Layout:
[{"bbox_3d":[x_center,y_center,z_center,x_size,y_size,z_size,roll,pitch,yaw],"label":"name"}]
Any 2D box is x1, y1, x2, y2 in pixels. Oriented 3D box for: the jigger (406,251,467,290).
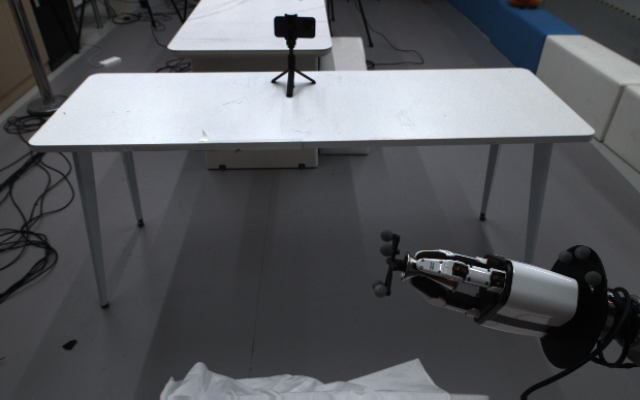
[{"bbox_3d":[0.151,0.091,0.637,0.071,0.043,0.043,11,35,2],"label":"jigger"}]
